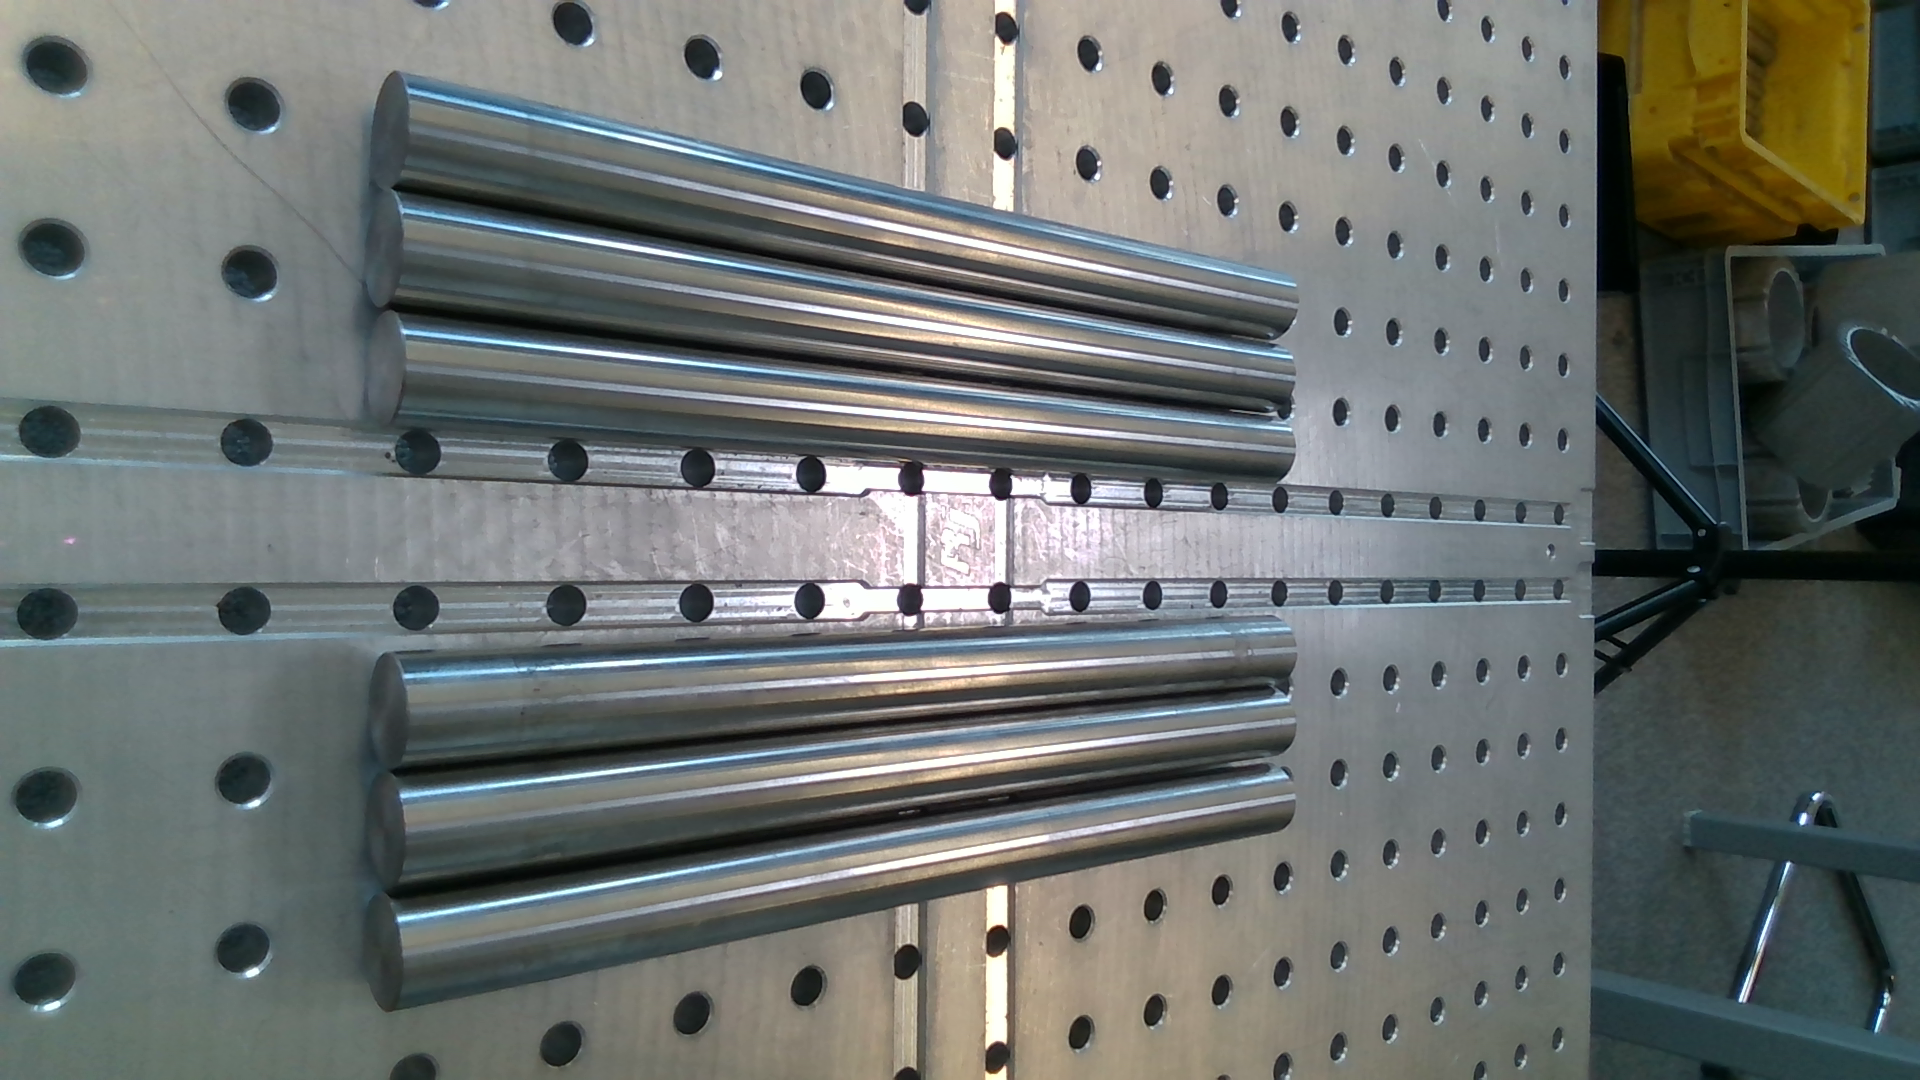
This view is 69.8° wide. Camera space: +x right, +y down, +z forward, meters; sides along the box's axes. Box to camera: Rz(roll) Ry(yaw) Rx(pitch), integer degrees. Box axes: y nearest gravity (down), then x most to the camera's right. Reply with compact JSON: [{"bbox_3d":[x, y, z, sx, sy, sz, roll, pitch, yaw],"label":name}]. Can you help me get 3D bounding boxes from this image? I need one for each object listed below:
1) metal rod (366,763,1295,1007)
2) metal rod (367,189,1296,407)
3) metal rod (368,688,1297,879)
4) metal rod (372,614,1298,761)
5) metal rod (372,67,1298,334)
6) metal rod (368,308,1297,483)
[{"bbox_3d":[-0.007,0.088,0.388,0.300,0.025,0.025,1,89,-40],"label":"metal rod"},{"bbox_3d":[-0.007,-0.059,0.387,0.300,0.025,0.025,1,89,-40],"label":"metal rod"},{"bbox_3d":[-0.006,0.061,0.388,0.300,0.025,0.025,1,89,-40],"label":"metal rod"},{"bbox_3d":[-0.006,0.036,0.388,0.300,0.025,0.025,1,89,-40],"label":"metal rod"},{"bbox_3d":[-0.006,-0.085,0.388,0.300,0.025,0.025,1,89,-40],"label":"metal rod"},{"bbox_3d":[-0.007,-0.034,0.388,0.300,0.025,0.025,1,89,-40],"label":"metal rod"}]
